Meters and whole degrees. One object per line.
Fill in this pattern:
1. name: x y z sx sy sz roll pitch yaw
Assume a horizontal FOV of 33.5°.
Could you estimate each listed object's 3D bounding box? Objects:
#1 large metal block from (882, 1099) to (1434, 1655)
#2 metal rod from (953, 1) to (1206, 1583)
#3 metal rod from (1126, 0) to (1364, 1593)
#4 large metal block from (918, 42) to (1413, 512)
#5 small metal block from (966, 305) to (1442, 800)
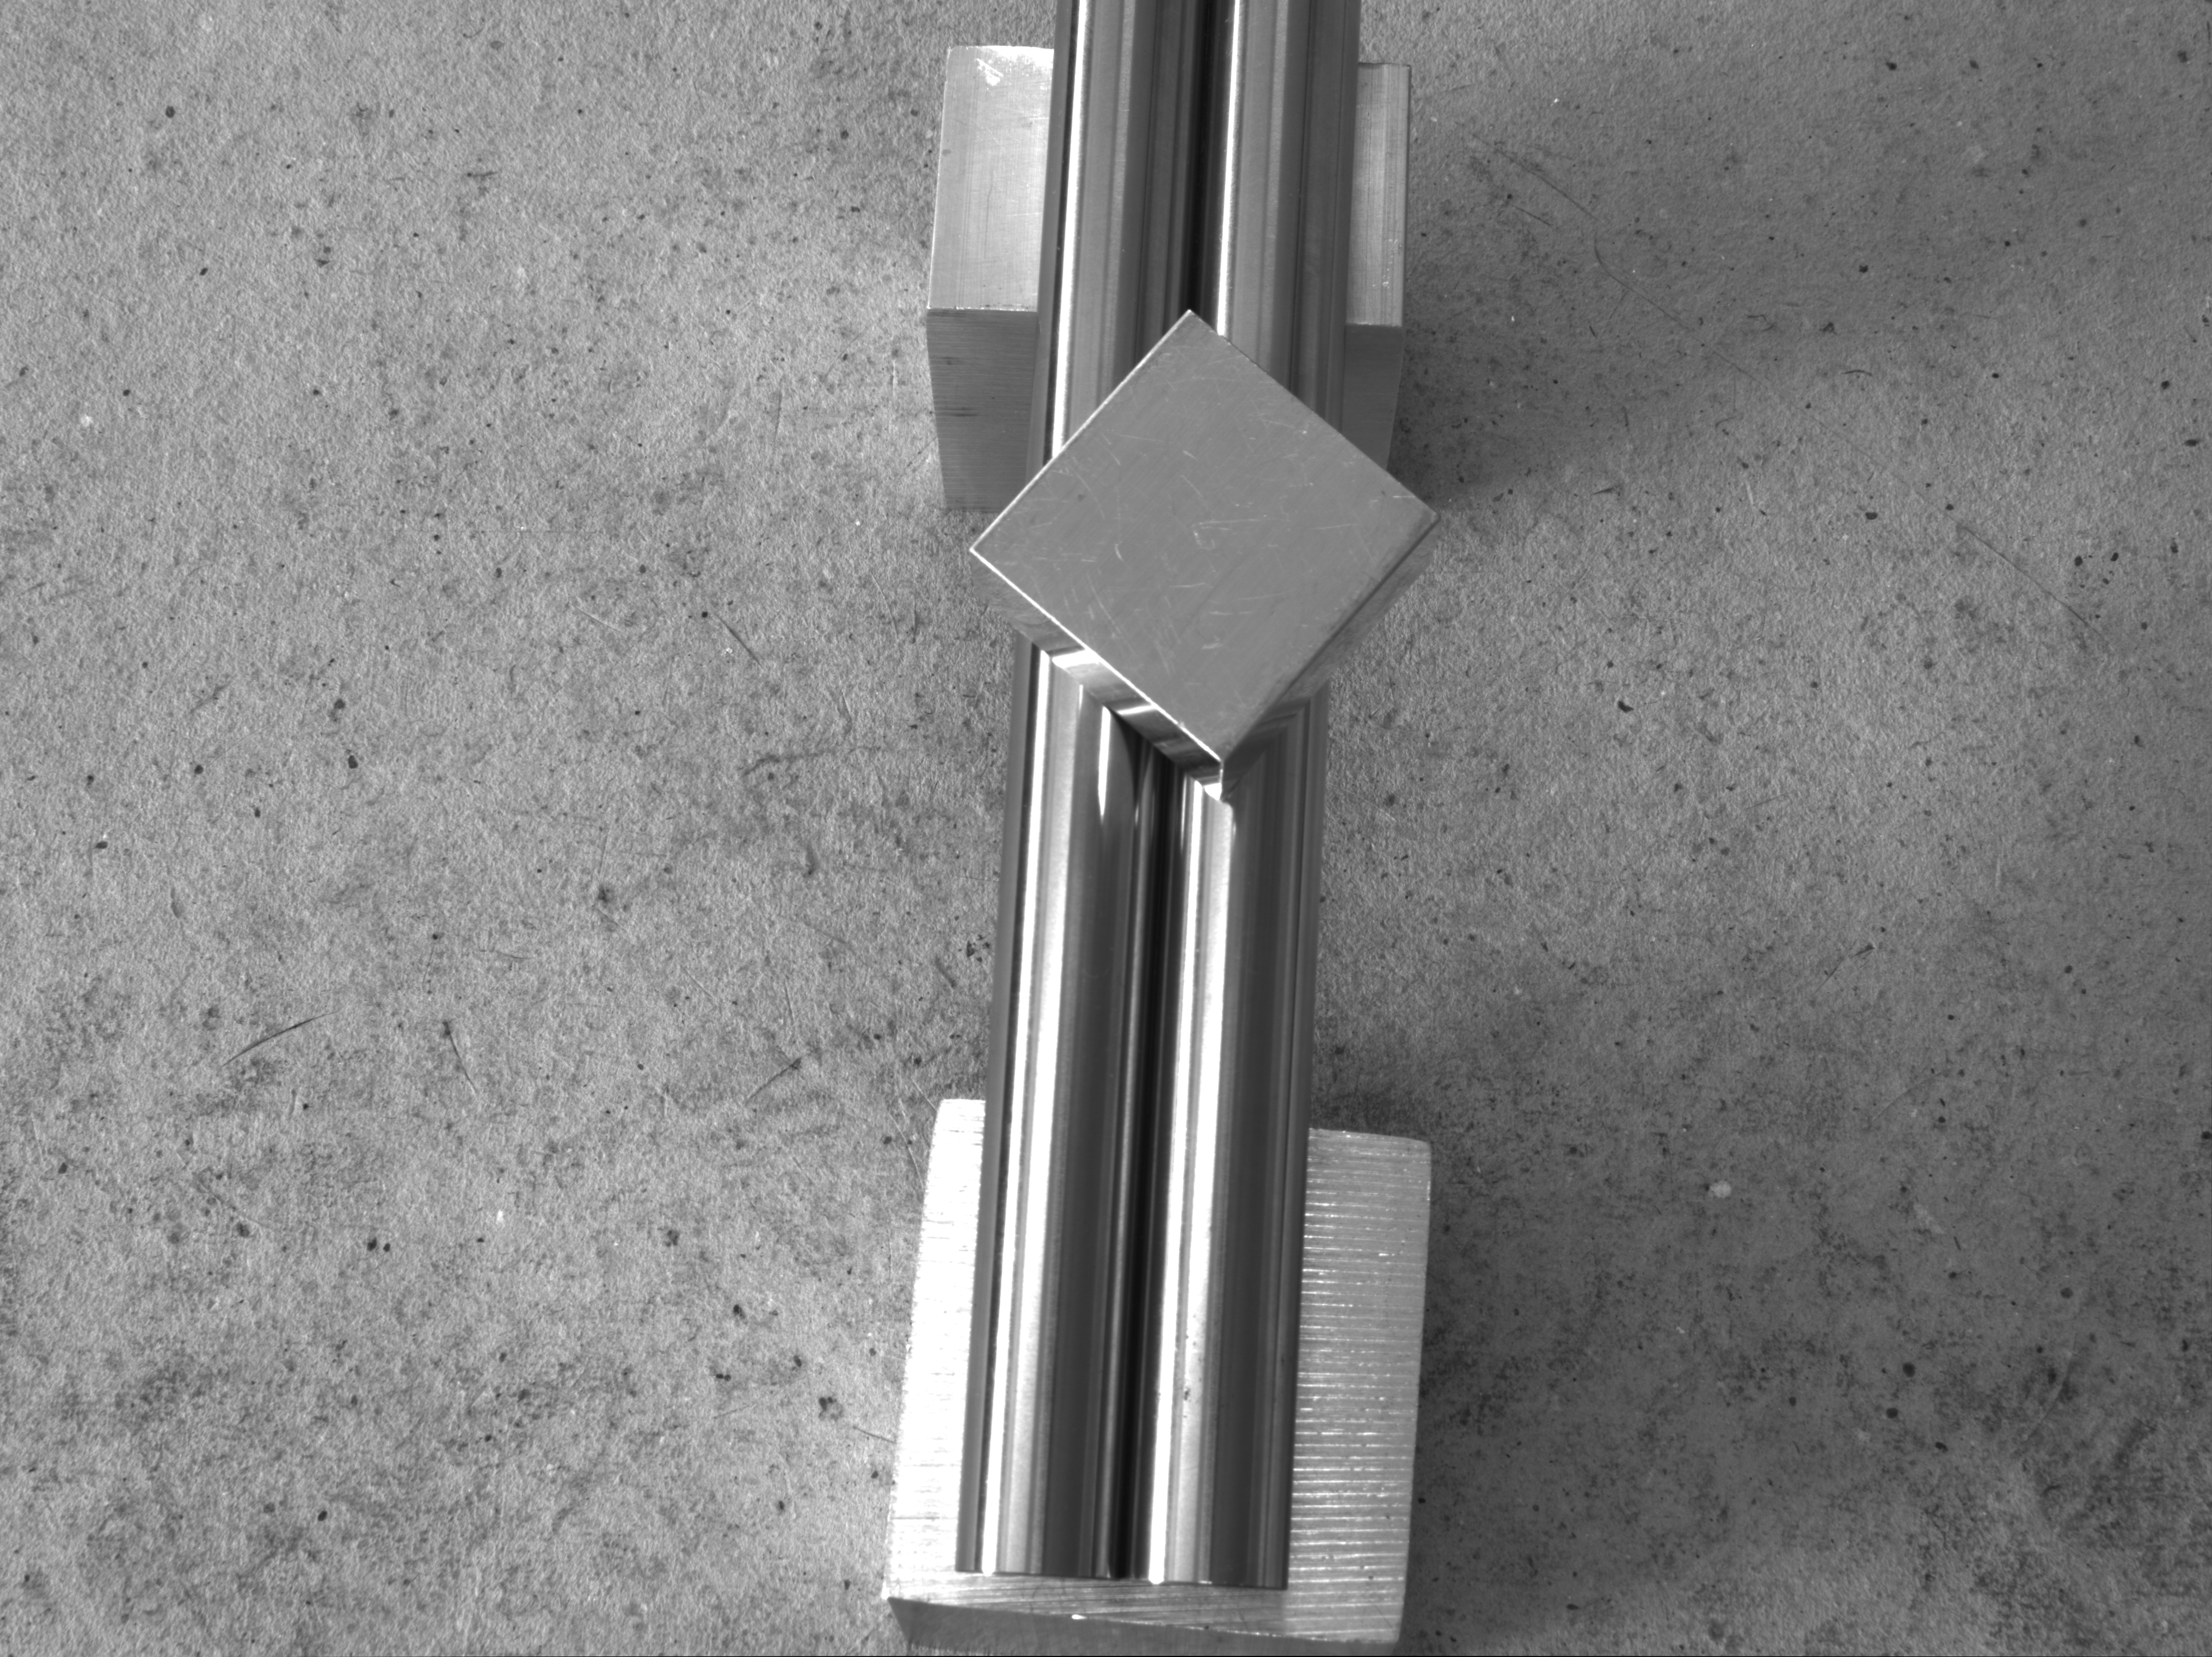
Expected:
1. large metal block: 0.009 0.093 0.598 0.080 0.050 0.080 5 70 2
2. metal rod: -0.002 -0.034 0.581 0.025 0.025 0.300 3 77 1
3. metal rod: 0.024 -0.033 0.580 0.025 0.025 0.300 3 77 1
4. large metal block: 0.011 -0.094 0.651 0.080 0.080 0.050 3 70 1
5. small metal block: 0.015 -0.042 0.557 0.050 0.025 0.050 41 80 8
